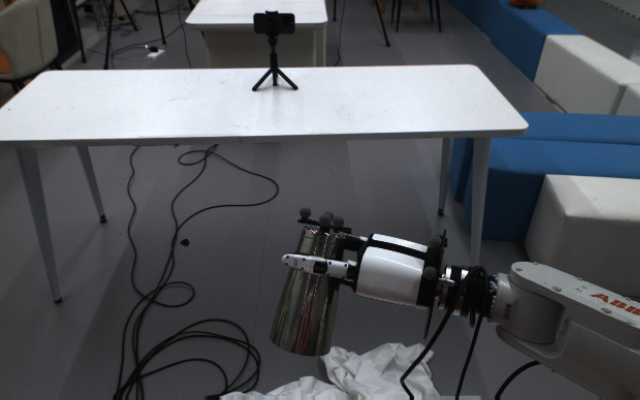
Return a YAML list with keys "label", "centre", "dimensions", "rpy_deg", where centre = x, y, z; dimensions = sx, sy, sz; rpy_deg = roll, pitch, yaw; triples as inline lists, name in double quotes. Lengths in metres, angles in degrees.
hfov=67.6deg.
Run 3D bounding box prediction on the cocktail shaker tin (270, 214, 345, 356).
- label: "cocktail shaker tin"
  centre: [-0.010, 0.126, 0.710]
  dimensions: [0.093, 0.170, 0.093]
  rpy_deg: [12, 3, -1]
